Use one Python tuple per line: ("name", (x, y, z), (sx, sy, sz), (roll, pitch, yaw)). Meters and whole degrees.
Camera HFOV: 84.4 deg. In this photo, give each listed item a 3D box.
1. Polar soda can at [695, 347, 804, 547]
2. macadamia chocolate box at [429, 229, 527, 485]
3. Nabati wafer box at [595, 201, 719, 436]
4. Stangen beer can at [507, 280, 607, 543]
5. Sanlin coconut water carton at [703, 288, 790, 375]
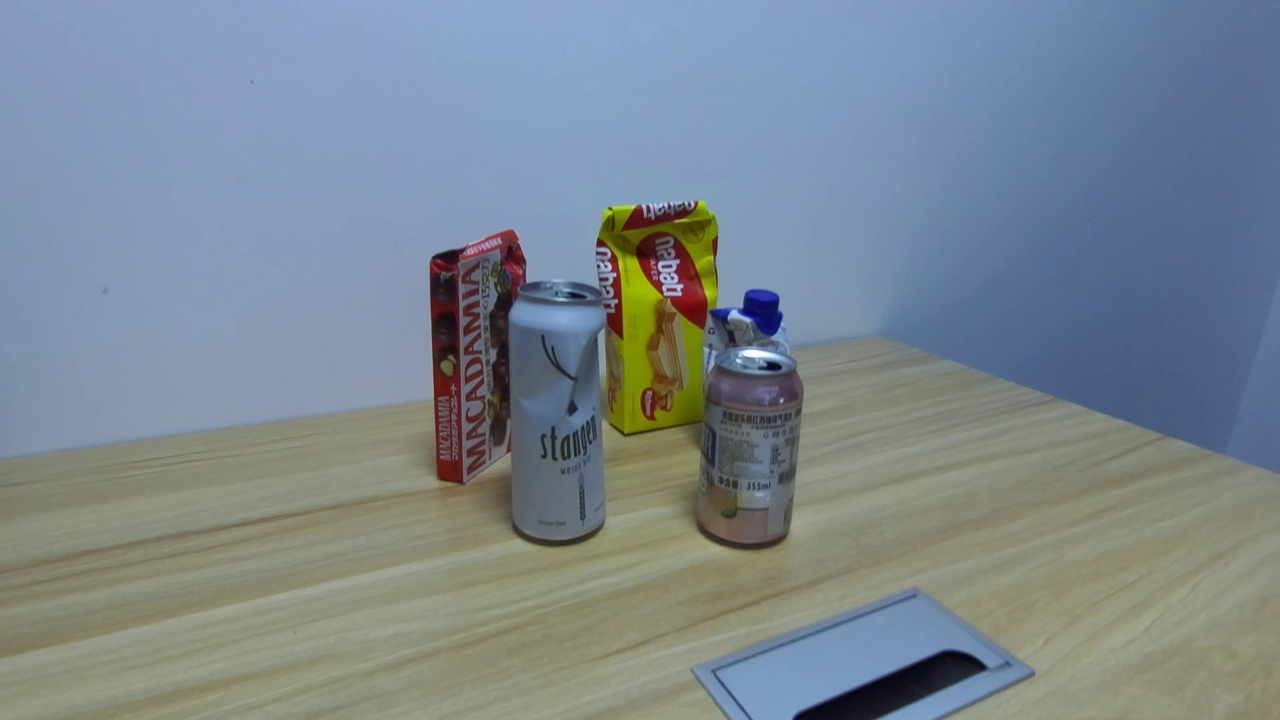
("Polar soda can", (0.074, 0.058, 0.480), (0.067, 0.125, 0.067), (1, 17, 0))
("macadamia chocolate box", (-0.125, -0.005, 0.570), (0.027, 0.187, 0.103), (12, 20, 20))
("Nabati wafer box", (0.018, -0.038, 0.646), (0.114, 0.205, 0.042), (-8, 17, -22))
("Stangen beer can", (-0.052, 0.034, 0.476), (0.070, 0.173, 0.069), (-9, 20, -30))
("Sanlin coconut water carton", (0.090, 0.013, 0.594), (0.057, 0.144, 0.068), (-5, 9, -39))
